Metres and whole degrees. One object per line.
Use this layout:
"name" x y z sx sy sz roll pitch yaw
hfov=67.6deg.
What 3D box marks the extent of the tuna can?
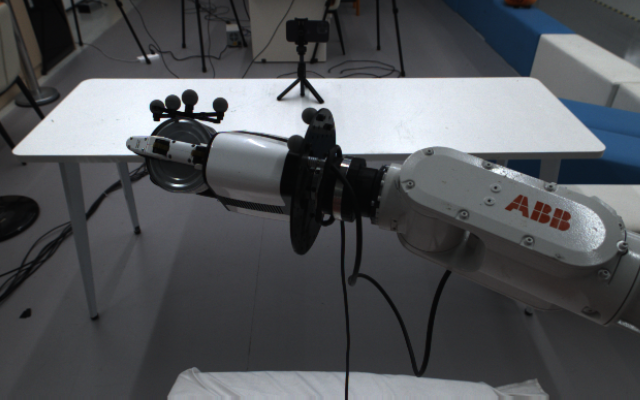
"tuna can" -0.152 -0.049 0.557 0.085 0.085 0.034 11 -1 13
